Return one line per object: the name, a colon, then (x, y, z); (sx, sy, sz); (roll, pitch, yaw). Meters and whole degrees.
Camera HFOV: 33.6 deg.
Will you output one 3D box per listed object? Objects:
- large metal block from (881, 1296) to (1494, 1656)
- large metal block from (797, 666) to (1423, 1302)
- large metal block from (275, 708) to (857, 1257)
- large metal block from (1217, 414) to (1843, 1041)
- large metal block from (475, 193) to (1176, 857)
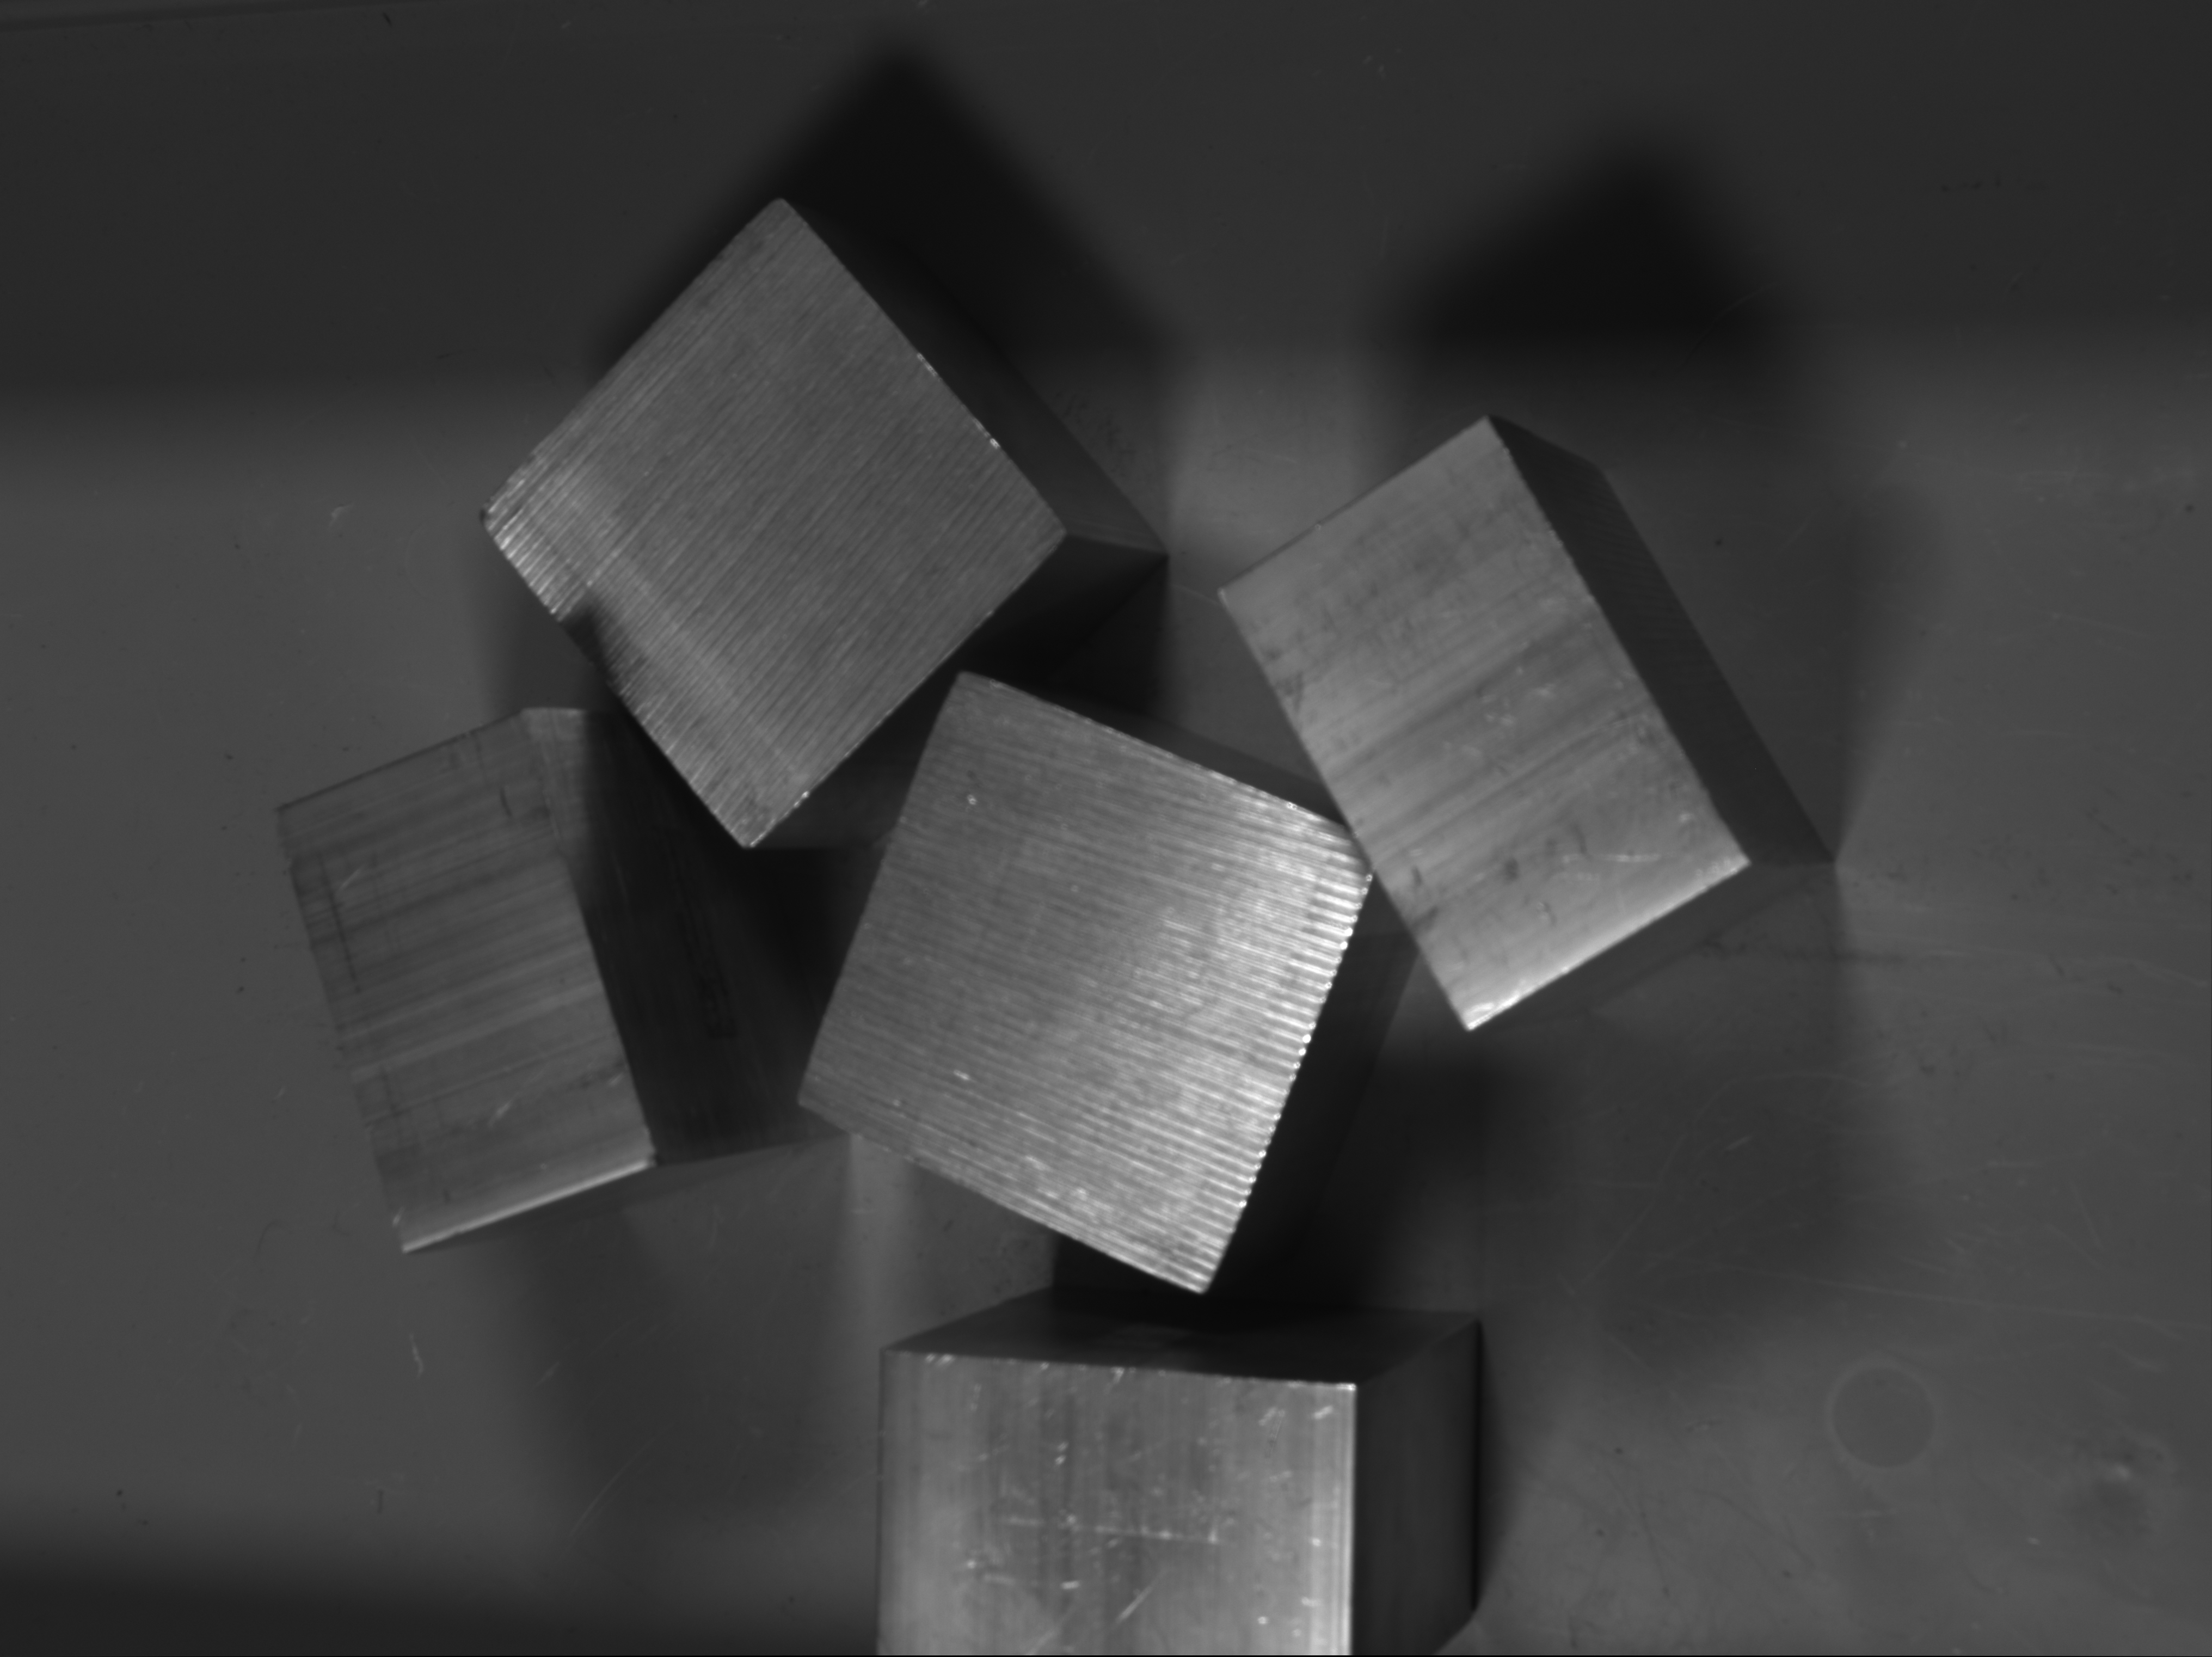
large metal block: (0.015, 0.109, 0.609); (0.080, 0.080, 0.050); (1, 90, 20)
large metal block: (0.005, 0.025, 0.628); (0.080, 0.050, 0.080); (24, 98, 18)
large metal block: (-0.093, 0.026, 0.647); (0.050, 0.080, 0.080); (-20, 83, 19)
large metal block: (0.070, -0.015, 0.589); (0.050, 0.080, 0.080); (-32, 79, 17)
large metal block: (-0.049, -0.051, 0.647); (0.080, 0.050, 0.080); (-44, 76, 14)
